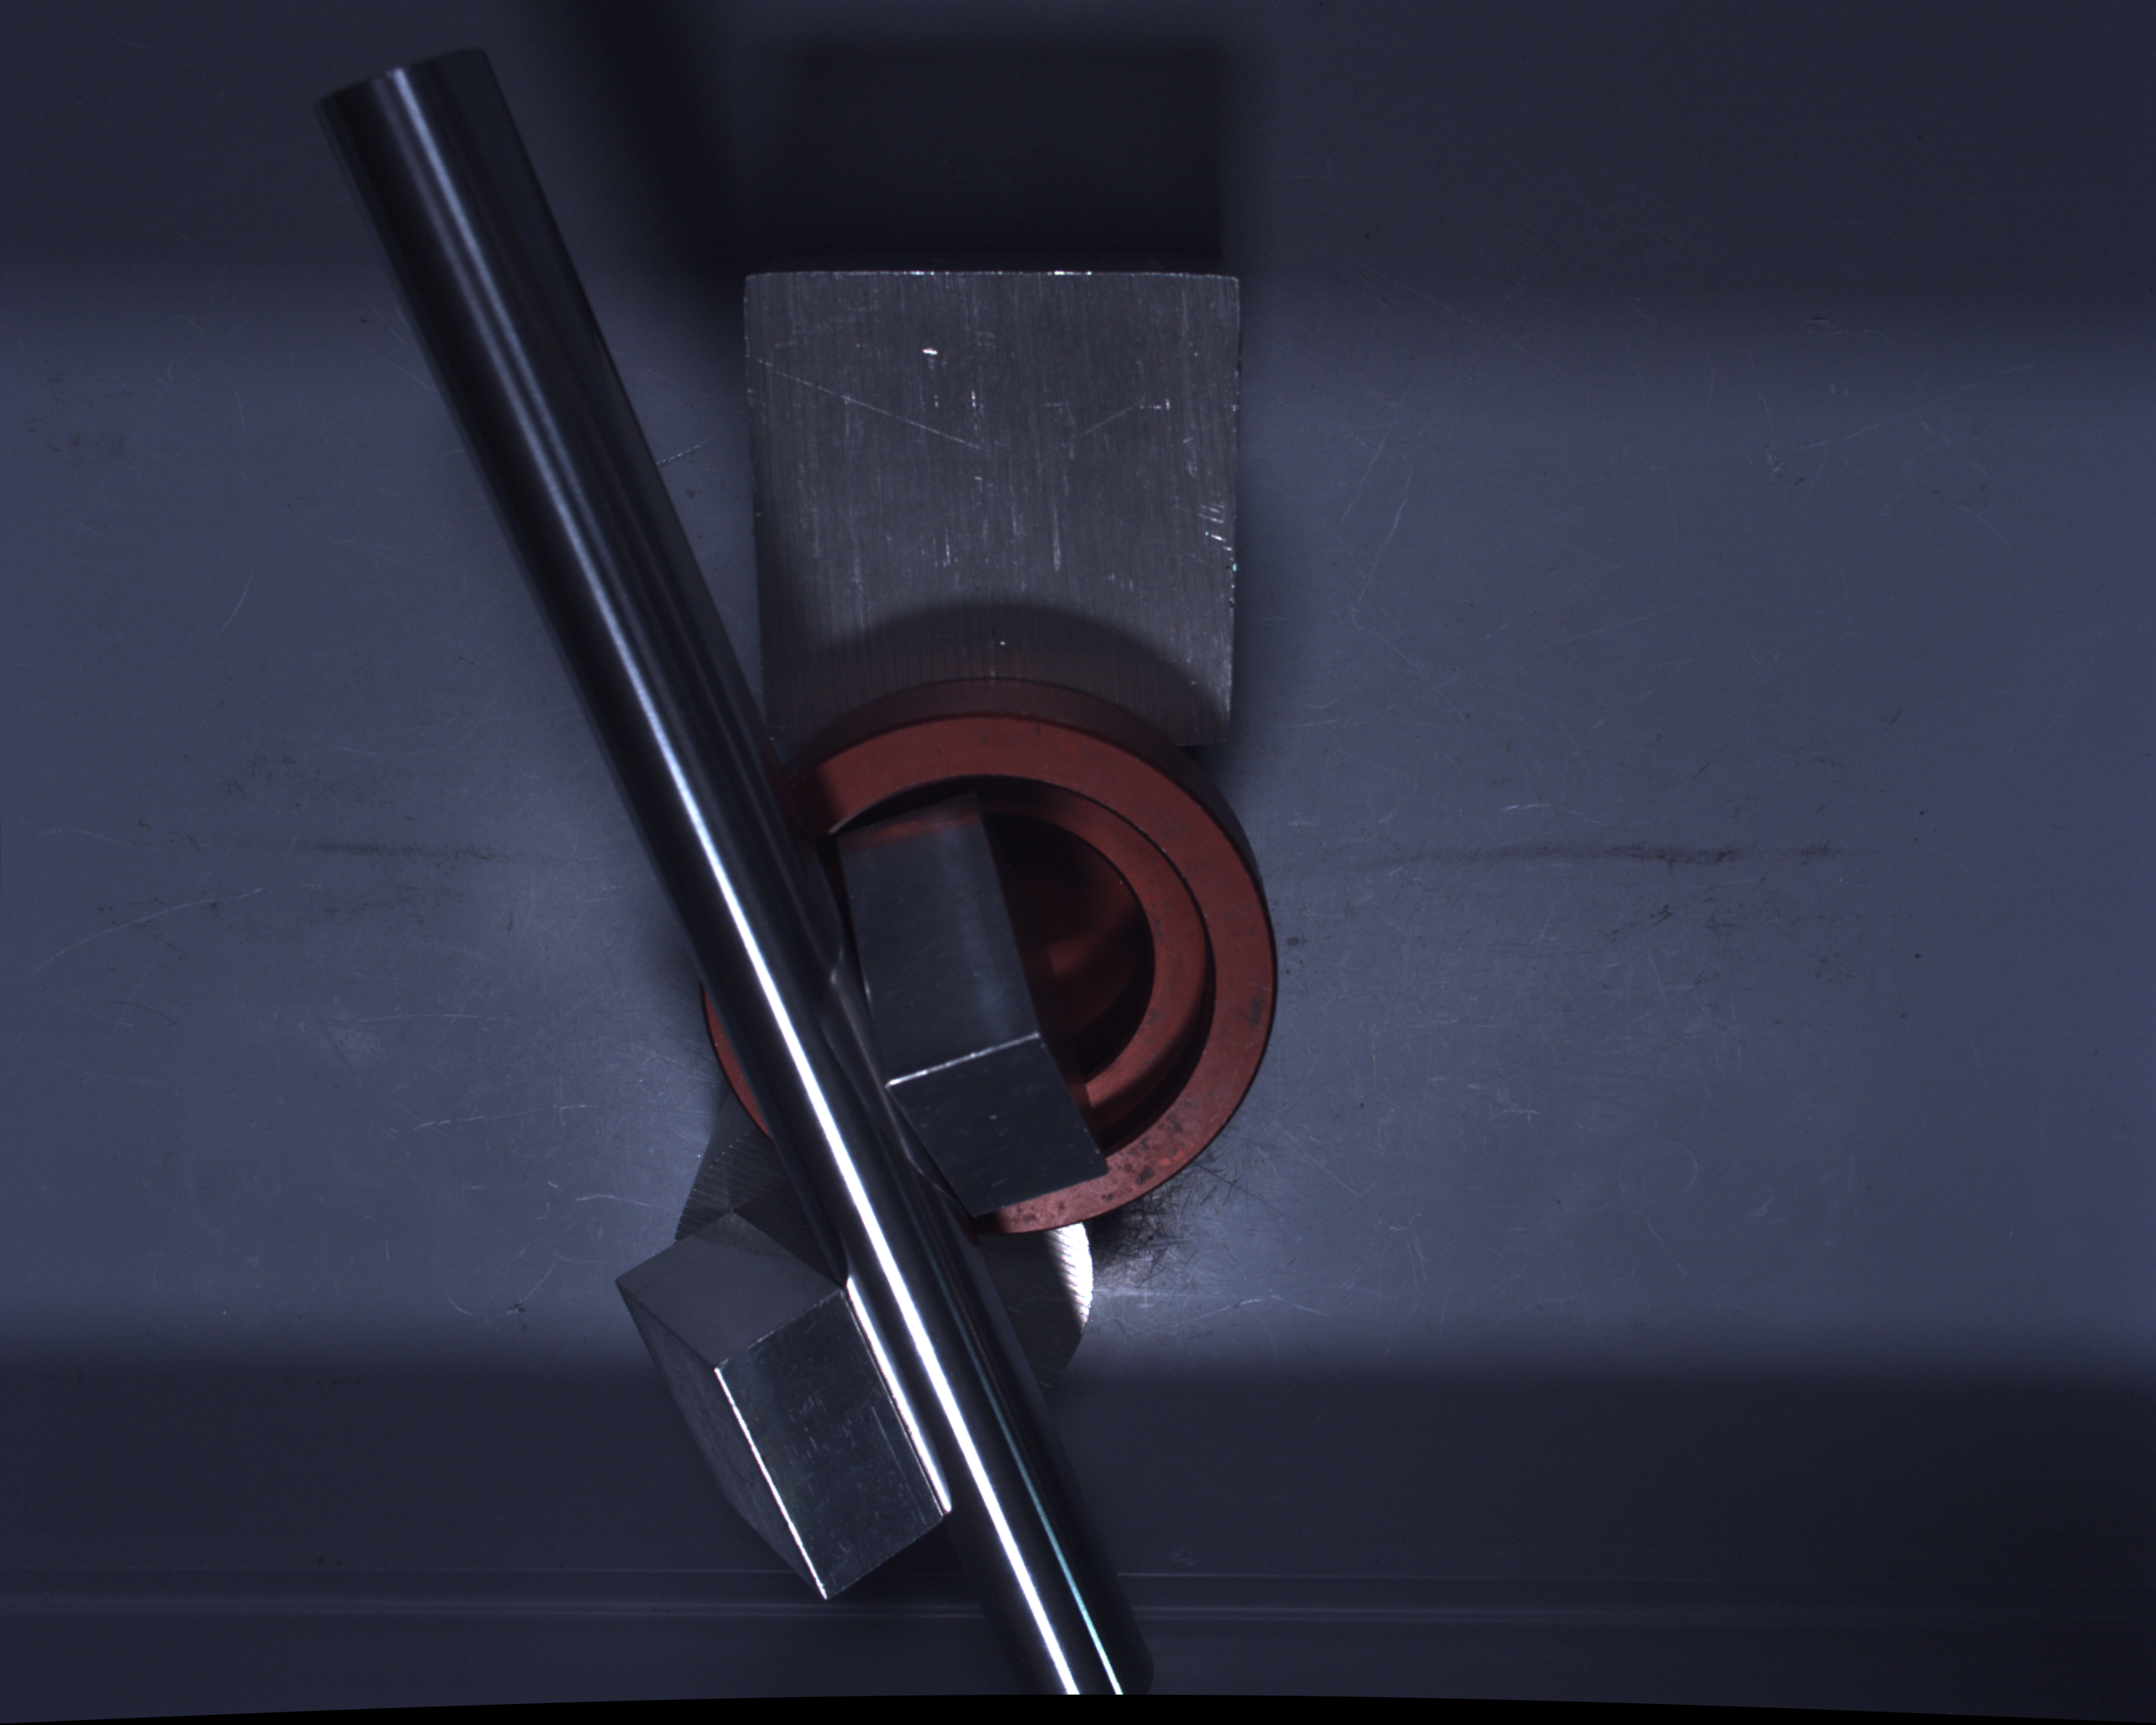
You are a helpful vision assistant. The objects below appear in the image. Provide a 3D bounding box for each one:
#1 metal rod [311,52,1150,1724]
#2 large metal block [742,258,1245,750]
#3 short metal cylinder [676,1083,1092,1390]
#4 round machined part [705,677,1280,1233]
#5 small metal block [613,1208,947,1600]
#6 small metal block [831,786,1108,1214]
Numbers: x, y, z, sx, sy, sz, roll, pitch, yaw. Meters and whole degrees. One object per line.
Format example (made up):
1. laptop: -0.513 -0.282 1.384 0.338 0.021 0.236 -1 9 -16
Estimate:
1. metal rod: -0.047 0.022 0.343 0.025 0.025 0.298 -18 109 6
2. large metal block: -0.014 -0.065 0.371 0.081 0.050 0.079 0 110 -1
3. short metal cylinder: -0.038 0.071 0.423 0.081 0.050 0.079 0 110 -1
4. round machined part: -0.015 0.014 0.374 0.099 0.042 0.097 0 110 -1
5. small metal block: -0.054 0.096 0.375 0.025 0.050 0.050 -29 111 -25
6. small metal block: -0.018 0.024 0.354 0.025 0.050 0.050 -19 144 3
